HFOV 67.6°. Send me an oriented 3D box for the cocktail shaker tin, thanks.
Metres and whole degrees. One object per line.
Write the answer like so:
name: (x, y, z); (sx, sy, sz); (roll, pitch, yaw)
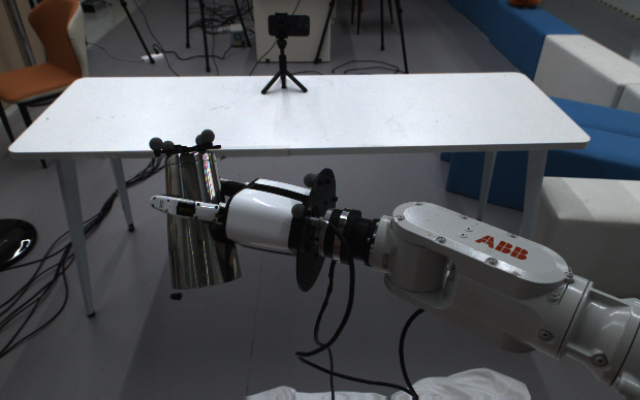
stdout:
cocktail shaker tin: (-0.162, 0.026, 0.645); (0.093, 0.170, 0.093); (-8, 1, 0)
